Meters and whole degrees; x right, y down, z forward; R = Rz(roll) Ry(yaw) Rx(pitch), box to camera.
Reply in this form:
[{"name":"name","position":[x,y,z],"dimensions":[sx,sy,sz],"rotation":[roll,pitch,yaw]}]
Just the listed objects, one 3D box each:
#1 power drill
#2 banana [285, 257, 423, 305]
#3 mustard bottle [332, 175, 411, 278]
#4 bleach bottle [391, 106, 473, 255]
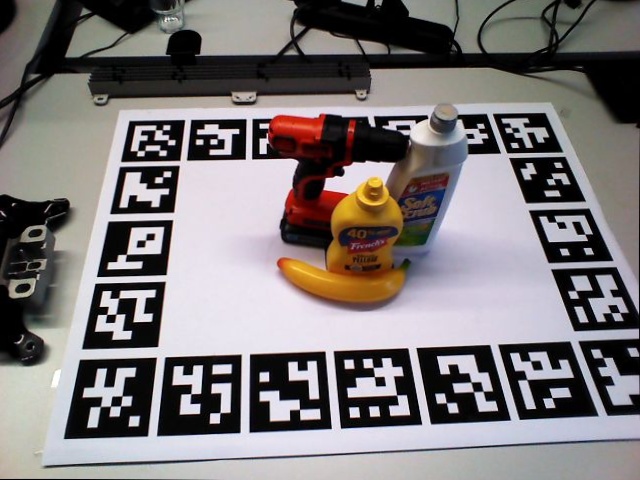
[{"name":"power drill","position":[0.026,-0.086,0.699],"dimensions":[0.185,0.188,0.057],"rotation":[9,55,3]},{"name":"banana","position":[0.048,0.056,0.733],"dimensions":[0.198,0.039,0.074],"rotation":[1,58,2]},{"name":"mustard bottle","position":[0.070,-0.017,0.679],"dimensions":[0.096,0.192,0.058],"rotation":[-1,56,-4]},{"name":"bleach bottle","position":[0.138,-0.080,0.694],"dimensions":[0.103,0.252,0.067],"rotation":[0,51,-1]}]
